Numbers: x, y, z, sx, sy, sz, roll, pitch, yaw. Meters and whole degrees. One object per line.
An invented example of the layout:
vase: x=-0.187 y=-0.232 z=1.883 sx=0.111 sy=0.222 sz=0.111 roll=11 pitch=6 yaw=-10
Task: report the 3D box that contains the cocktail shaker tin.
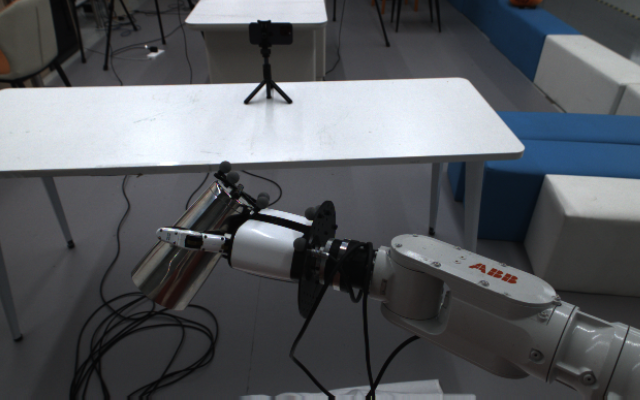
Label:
cocktail shaker tin: x=-0.171 y=0.056 z=0.674 sx=0.170 sy=0.093 sz=0.093 roll=-50 pitch=46 yaw=4
